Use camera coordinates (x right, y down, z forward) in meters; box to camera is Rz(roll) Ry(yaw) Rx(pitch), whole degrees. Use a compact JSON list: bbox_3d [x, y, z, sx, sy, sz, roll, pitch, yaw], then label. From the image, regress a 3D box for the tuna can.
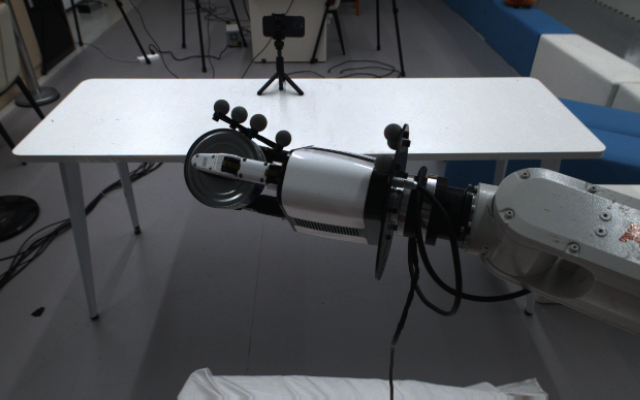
[{"bbox_3d":[-0.099,-0.032,0.528,0.085,0.085,0.034,9,-4,10],"label":"tuna can"}]
